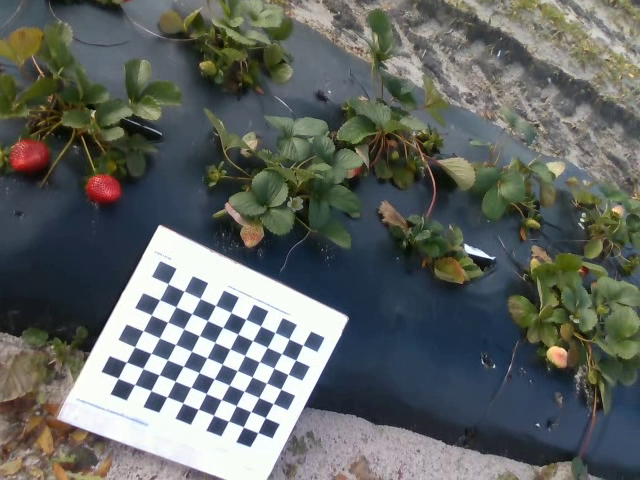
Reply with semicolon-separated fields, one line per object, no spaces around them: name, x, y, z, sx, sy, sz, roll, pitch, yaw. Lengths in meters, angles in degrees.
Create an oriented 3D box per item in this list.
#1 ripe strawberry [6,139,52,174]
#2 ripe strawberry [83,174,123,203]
ripe strawberry;-0.254;-0.074;0.593;0.035;0.041;0.036;12;28;-12
ripe strawberry;-0.194;-0.046;0.616;0.033;0.038;0.039;38;6;-35
